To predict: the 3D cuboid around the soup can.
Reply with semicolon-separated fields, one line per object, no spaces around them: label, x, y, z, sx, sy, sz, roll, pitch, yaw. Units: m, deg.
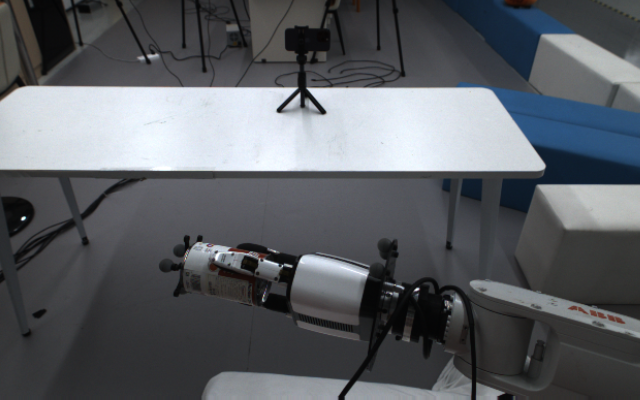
soup can;-0.115;0.095;0.620;0.101;0.067;0.067;9;35;10
